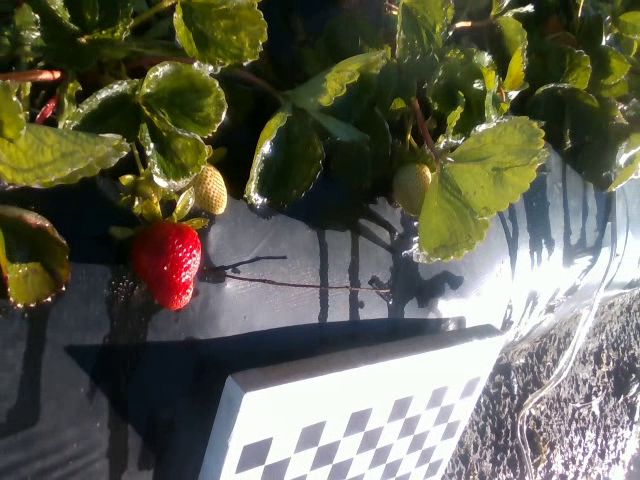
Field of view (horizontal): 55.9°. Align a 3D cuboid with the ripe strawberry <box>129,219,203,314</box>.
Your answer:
[{"bbox_3d":[-0.061,0.014,0.249,0.039,0.039,0.040,-5,-34,-27],"label":"ripe strawberry"}]
